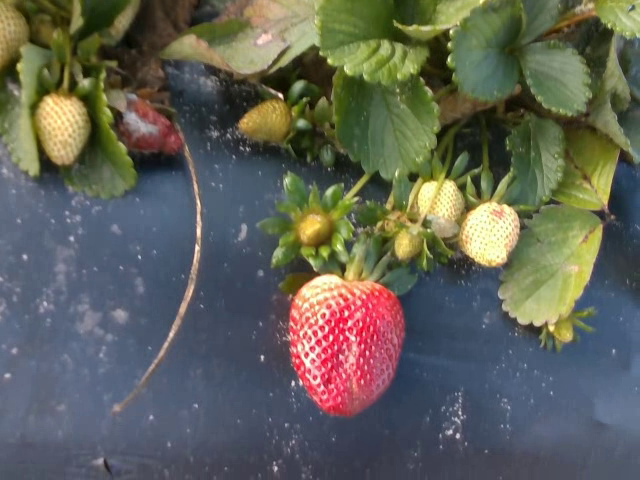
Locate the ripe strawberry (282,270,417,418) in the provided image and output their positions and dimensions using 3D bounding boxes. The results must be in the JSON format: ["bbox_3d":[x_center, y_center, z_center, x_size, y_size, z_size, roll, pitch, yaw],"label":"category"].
[{"bbox_3d":[0.011,0.046,0.254,0.052,0.068,0.045,14,-43,-12],"label":"ripe strawberry"}]
